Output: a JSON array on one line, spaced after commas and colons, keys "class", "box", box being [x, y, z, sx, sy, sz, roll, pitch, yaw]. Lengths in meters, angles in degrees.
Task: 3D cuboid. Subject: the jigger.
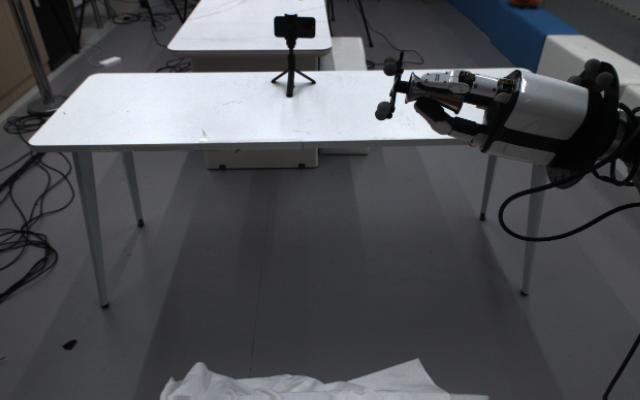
[{"class": "jigger", "box": [0.153, -0.140, 0.619, 0.071, 0.043, 0.043, 10, 35, 2]}]
